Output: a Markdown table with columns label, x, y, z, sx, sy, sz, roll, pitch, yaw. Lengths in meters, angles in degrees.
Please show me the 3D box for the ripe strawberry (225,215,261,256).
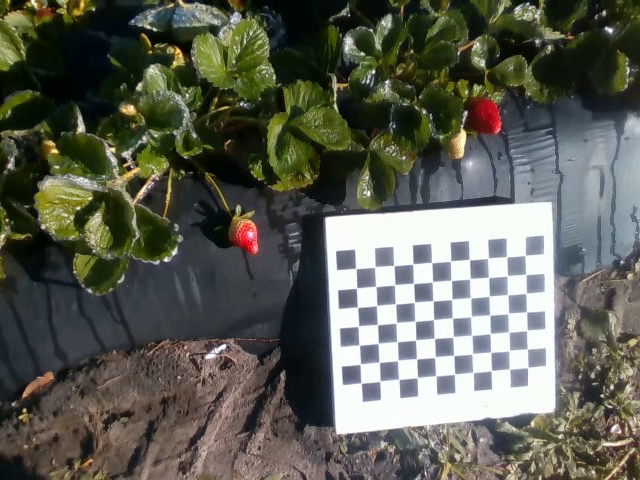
| label | x | y | z | sx | sy | sz | roll | pitch | yaw |
| --- | --- | --- | --- | --- | --- | --- | --- | --- | --- |
| ripe strawberry | -0.086 | -0.004 | 0.741 | 0.039 | 0.053 | 0.041 | -26 | -8 | -5 |
